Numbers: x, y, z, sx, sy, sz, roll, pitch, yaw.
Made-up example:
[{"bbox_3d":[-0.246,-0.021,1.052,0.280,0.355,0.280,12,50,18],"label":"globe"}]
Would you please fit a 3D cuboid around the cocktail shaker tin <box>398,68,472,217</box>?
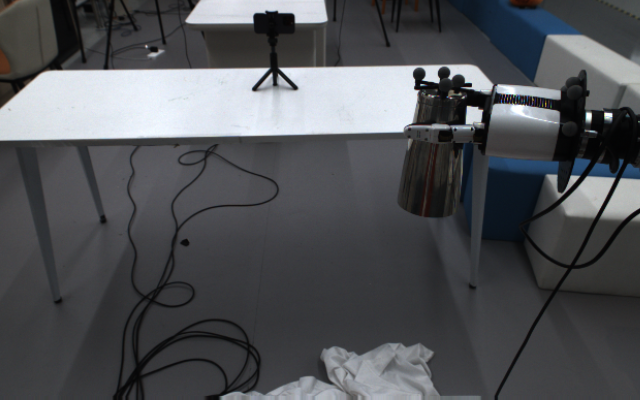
[{"bbox_3d":[0.168,-0.075,0.701,0.093,0.170,0.093,1,27,-1],"label":"cocktail shaker tin"}]
